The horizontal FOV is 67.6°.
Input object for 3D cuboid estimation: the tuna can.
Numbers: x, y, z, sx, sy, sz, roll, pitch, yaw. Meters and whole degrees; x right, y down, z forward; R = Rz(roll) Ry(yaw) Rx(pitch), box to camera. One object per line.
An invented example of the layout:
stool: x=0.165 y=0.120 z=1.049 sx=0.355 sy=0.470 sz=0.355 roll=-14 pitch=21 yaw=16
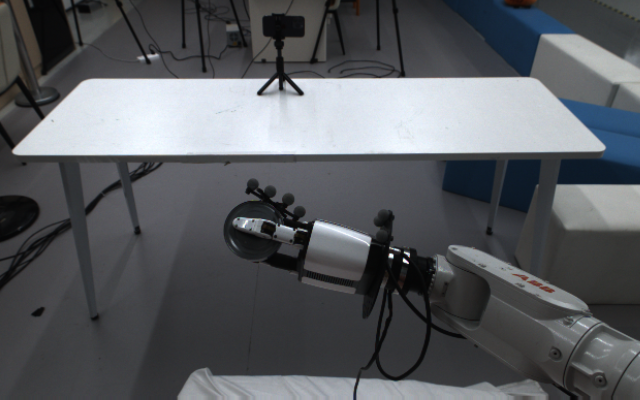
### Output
tuna can: x=-0.092 y=0.046 z=0.694 sx=0.085 sy=0.034 sz=0.085 roll=1 pitch=75 yaw=-4
